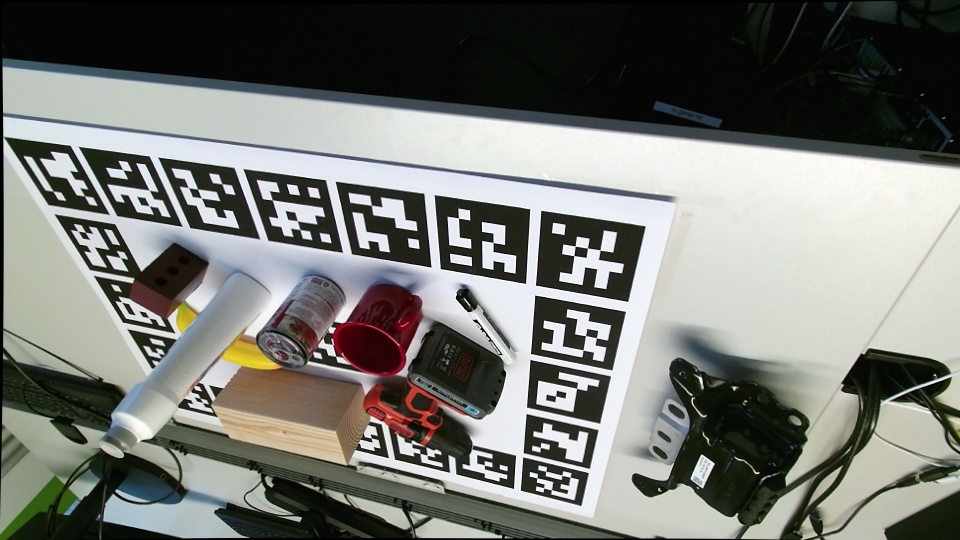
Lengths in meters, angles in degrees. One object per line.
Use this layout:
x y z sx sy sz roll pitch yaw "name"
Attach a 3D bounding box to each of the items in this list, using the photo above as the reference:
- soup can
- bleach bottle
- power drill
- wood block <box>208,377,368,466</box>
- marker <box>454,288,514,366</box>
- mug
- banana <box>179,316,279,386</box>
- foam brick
-0.225 0.073 0.666 0.068 0.101 0.068 11 134 12 "soup can"
-0.363 0.121 0.661 0.068 0.250 0.103 30 132 -7 "bleach bottle"
-0.062 0.185 0.746 0.185 0.057 0.187 32 132 -4 "power drill"
-0.293 0.229 0.832 0.207 0.090 0.090 7 128 13 "wood block"
0.004 0.069 0.650 0.020 0.019 0.121 -19 119 28 "marker"
-0.117 0.075 0.651 0.093 0.081 0.117 43 125 -14 "mug"
-0.368 0.135 0.810 0.198 0.039 0.074 21 118 4 "banana"
-0.418 0.021 0.715 0.053 0.078 0.051 33 132 -12 "foam brick"
